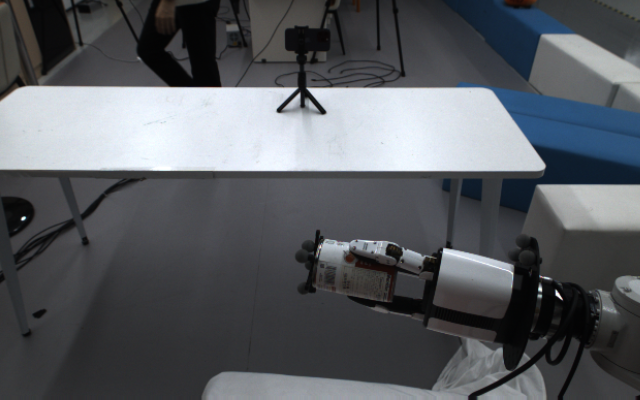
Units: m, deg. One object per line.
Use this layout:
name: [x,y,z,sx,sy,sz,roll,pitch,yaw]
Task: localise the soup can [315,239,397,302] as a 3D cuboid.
soup can: [0.050,0.089,0.619,0.101,0.067,0.067,9,35,9]
